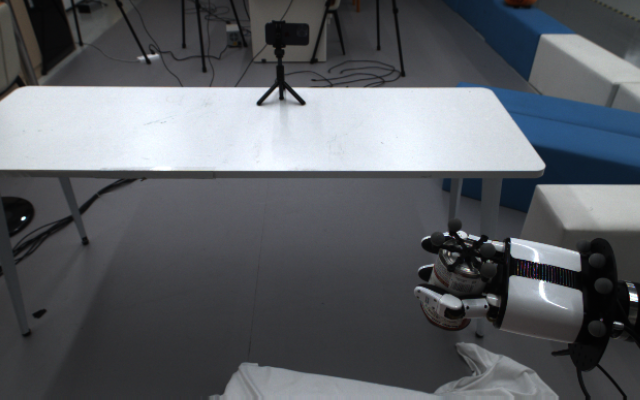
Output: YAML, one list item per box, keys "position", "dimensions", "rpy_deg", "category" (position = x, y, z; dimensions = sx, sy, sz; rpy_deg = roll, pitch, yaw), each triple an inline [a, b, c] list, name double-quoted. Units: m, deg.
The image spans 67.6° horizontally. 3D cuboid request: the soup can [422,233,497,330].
- position: [0.175, 0.107, 0.618]
  dimensions: [0.067, 0.101, 0.067]
  rpy_deg: [5, 36, -3]
  category: "soup can"
